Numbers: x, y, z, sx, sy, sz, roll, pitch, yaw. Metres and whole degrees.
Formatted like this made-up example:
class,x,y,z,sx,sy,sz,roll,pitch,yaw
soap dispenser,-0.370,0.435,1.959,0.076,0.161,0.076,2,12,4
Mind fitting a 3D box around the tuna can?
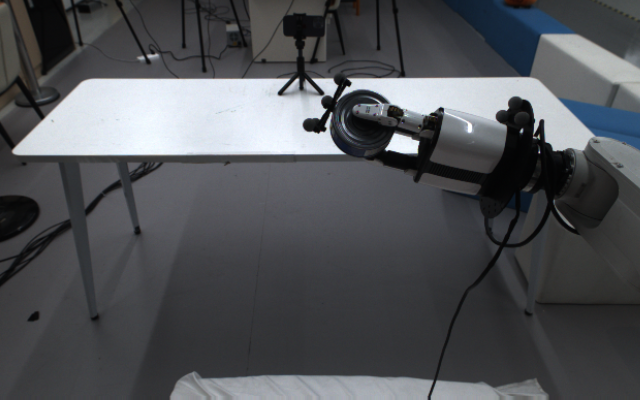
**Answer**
class,x,y,z,sx,sy,sz,roll,pitch,yaw
tuna can,0.058,-0.103,0.641,0.085,0.034,0.085,1,75,-5
